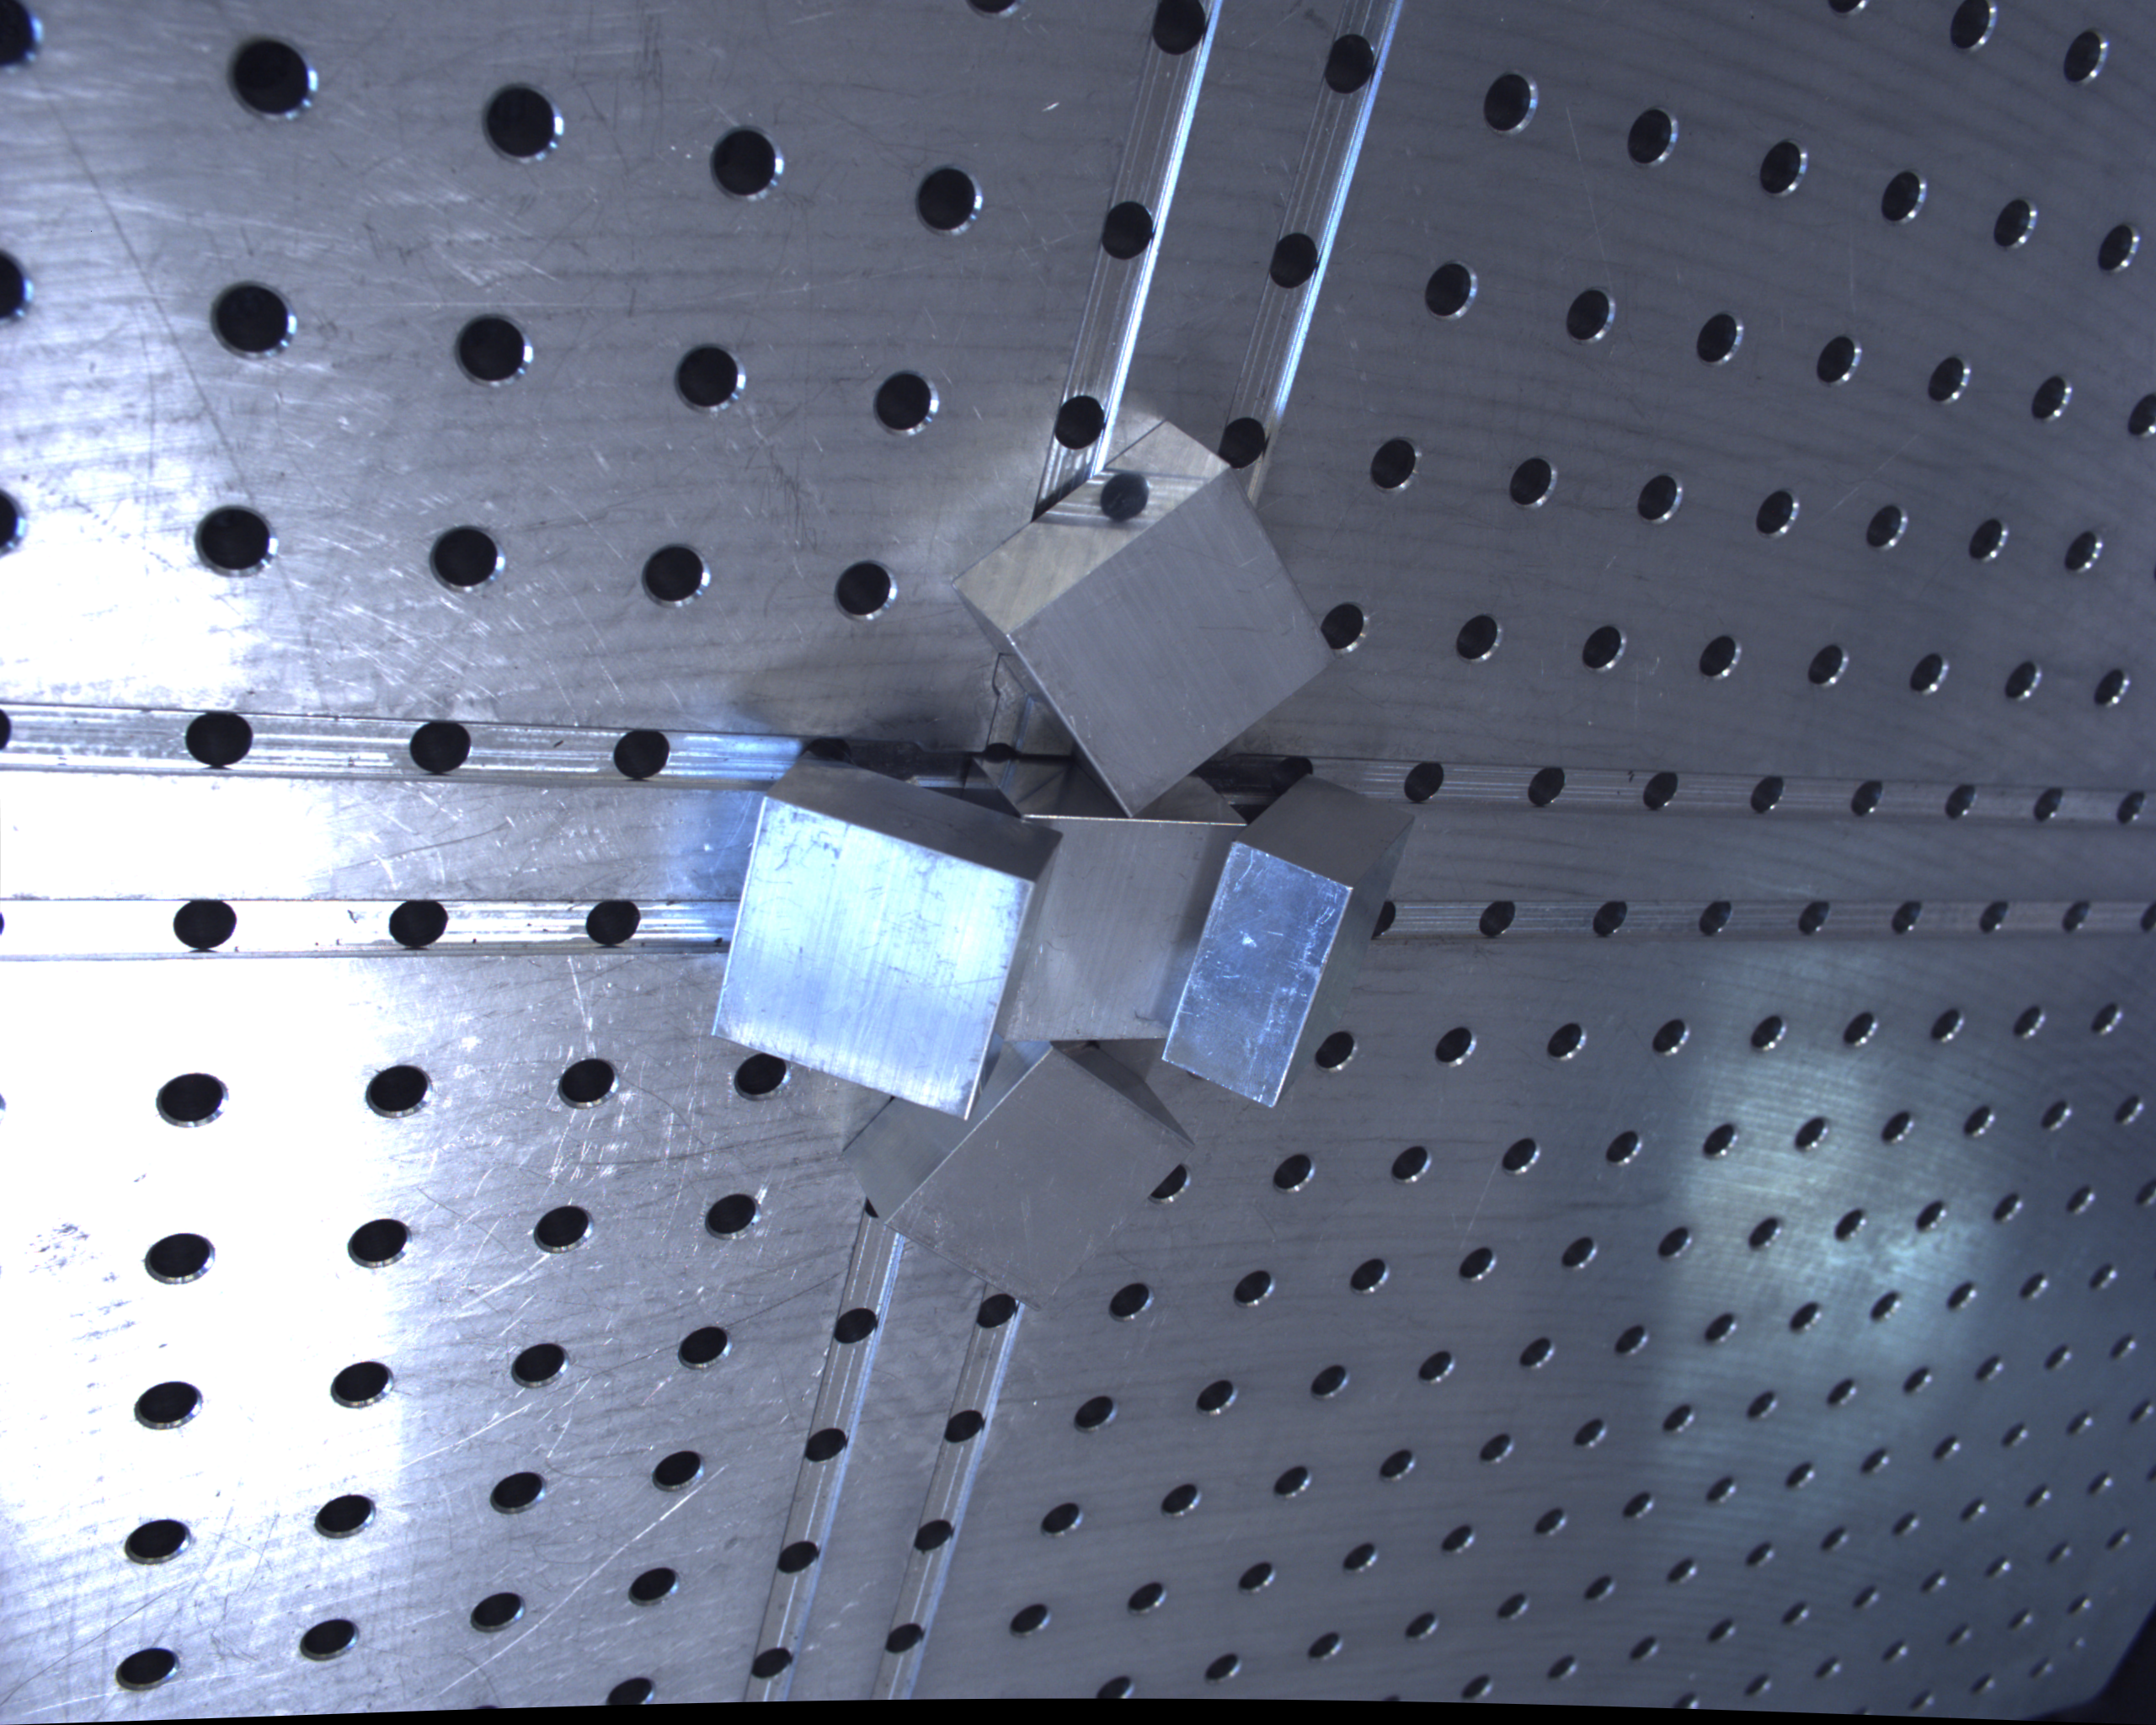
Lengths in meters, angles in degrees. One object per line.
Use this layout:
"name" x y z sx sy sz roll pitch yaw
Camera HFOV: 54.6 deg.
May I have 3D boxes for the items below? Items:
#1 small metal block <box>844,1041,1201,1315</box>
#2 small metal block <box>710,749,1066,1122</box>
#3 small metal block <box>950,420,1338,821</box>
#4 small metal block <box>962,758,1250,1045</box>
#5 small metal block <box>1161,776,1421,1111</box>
"small metal block" -0.011 0.061 0.441 0.050 0.025 0.050 -47 128 5
"small metal block" -0.035 0.013 0.383 0.050 0.025 0.050 18 114 3
"small metal block" 0.013 -0.045 0.390 0.050 0.025 0.050 -38 129 -3
"small metal block" 0.000 0.008 0.415 0.050 0.025 0.050 1 117 -29
"small metal block" 0.044 0.015 0.426 0.050 0.025 0.050 -36 146 -61
